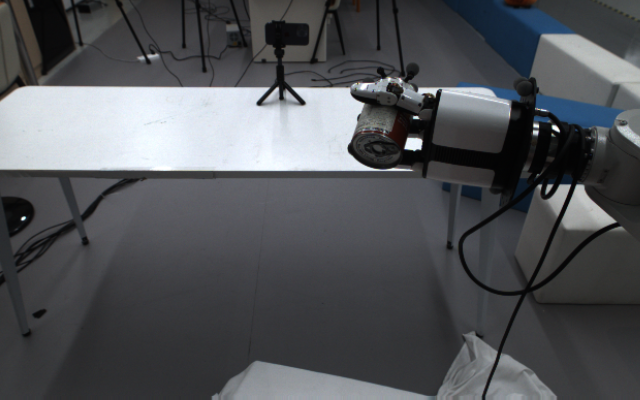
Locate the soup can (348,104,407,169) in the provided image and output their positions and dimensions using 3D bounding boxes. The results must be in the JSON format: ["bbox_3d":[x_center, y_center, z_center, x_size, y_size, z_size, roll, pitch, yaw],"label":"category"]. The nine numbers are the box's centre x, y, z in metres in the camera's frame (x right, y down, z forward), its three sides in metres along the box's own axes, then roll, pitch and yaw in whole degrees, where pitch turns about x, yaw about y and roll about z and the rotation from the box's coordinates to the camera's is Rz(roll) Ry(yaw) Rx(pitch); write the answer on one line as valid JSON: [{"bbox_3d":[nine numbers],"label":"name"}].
[{"bbox_3d":[0.083,-0.102,0.623,0.067,0.067,0.101,12,59,14],"label":"soup can"}]
